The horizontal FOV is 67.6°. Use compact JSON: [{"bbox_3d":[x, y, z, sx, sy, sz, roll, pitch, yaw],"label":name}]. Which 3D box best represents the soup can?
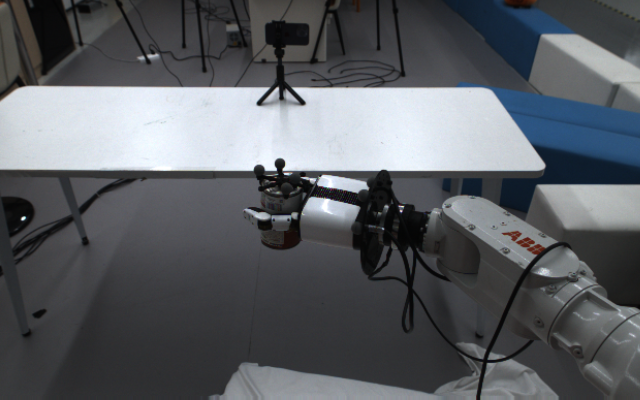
[{"bbox_3d":[-0.061,0.021,0.771,0.067,0.101,0.067,4,30,-2],"label":"soup can"}]
